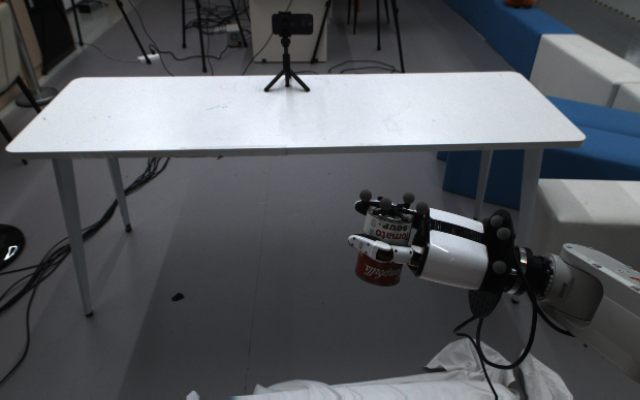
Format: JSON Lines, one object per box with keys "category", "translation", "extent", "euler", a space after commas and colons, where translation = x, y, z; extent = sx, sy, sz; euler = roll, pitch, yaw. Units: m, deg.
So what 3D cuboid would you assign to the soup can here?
{"category": "soup can", "translation": [0.093, 0.063, 0.698], "extent": [0.067, 0.101, 0.067], "euler": [9, 19, -3]}
